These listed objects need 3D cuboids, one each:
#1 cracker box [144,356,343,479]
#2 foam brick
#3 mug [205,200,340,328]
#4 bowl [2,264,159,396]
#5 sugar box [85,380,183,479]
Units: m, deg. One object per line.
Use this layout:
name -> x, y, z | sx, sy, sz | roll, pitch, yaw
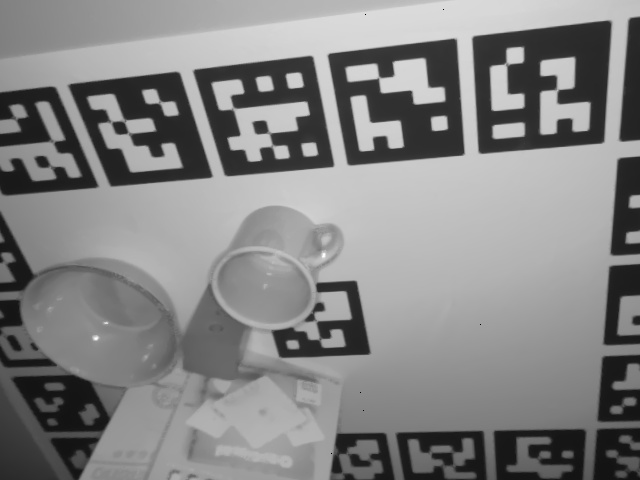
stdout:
cracker box -> -0.076, 0.216, 0.679 | 0.165, 0.216, 0.071 | 21, 126, -4
foam brick -> -0.100, 0.094, 0.690 | 0.053, 0.079, 0.051 | 8, 124, 3
mug -> -0.038, 0.015, 0.619 | 0.116, 0.082, 0.093 | -13, 128, 14
bowl -> -0.225, 0.079, 0.693 | 0.161, 0.056, 0.160 | 3, 122, 6
sugar box -> -0.179, 0.226, 0.720 | 0.093, 0.178, 0.045 | 13, 124, 0
